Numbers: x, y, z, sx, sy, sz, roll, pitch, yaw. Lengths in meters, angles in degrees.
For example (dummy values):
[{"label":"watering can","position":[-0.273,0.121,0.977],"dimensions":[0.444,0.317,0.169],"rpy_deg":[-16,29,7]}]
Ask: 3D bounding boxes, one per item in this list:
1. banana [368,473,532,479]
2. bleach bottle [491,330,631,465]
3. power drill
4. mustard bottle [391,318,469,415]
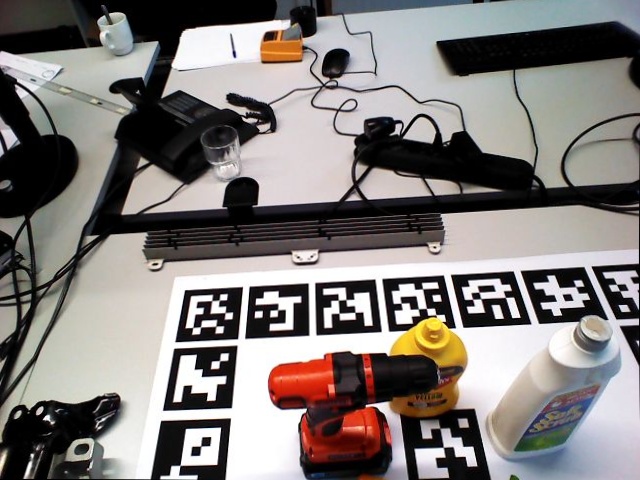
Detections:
[{"label":"banana","position":[0.150,0.309,0.603],"dimensions":[0.198,0.039,0.074],"rpy_deg":[-2,54,7]},{"label":"bleach bottle","position":[0.268,0.176,0.577],"dimensions":[0.103,0.251,0.067],"rpy_deg":[-9,50,-2]},{"label":"power drill","position":[0.036,0.192,0.592],"dimensions":[0.185,0.187,0.057],"rpy_deg":[-4,43,-1]},{"label":"mustard bottle","position":[0.139,0.153,0.639],"dimensions":[0.096,0.192,0.058],"rpy_deg":[-2,49,3]}]
